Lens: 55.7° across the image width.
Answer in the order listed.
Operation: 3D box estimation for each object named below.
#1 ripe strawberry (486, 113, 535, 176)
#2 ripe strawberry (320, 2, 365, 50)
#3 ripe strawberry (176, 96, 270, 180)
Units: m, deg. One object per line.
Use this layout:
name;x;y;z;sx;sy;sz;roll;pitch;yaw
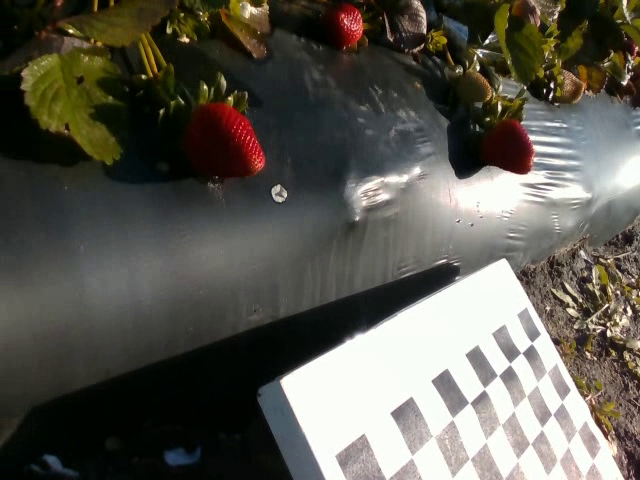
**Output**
ripe strawberry;0.151;-0.071;0.483;0.042;0.059;0.042;17;-48;-45
ripe strawberry;0.017;-0.160;0.444;0.035;0.035;0.046;-31;-9;29
ripe strawberry;-0.046;-0.047;0.305;0.055;0.042;0.045;40;23;30
